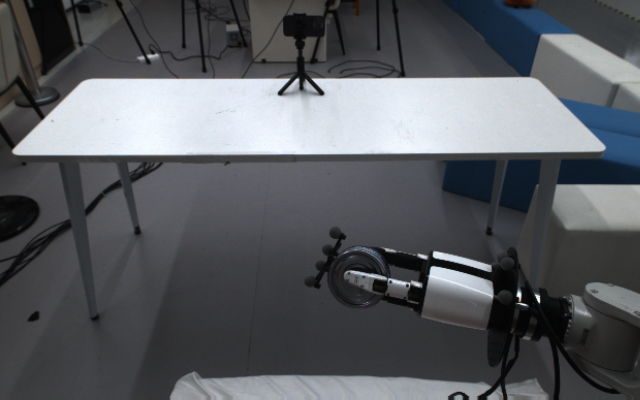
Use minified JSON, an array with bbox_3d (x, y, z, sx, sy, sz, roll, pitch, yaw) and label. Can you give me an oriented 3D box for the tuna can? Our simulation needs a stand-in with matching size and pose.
[{"bbox_3d":[0.057,0.106,0.679,0.085,0.085,0.034,9,4,10],"label":"tuna can"}]
